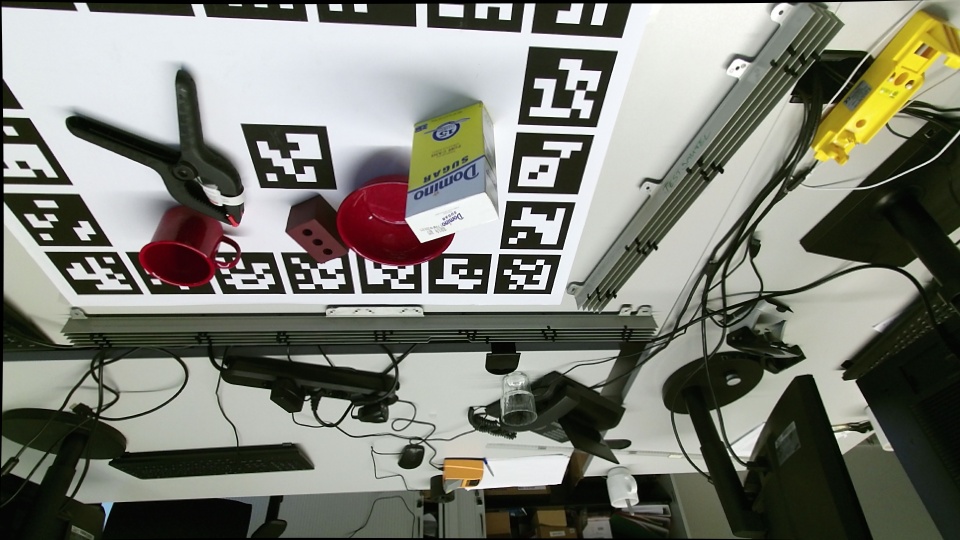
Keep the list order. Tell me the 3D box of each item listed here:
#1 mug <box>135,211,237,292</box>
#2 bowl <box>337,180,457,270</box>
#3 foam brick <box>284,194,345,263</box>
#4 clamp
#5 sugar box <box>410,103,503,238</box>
[{"bbox_3d":[-0.402,-0.024,0.749,0.117,0.081,0.093,22,131,-20],"label":"mug"},{"bbox_3d":[-0.113,-0.070,0.747,0.162,0.055,0.162,-2,136,-2],"label":"bowl"},{"bbox_3d":[-0.232,-0.058,0.762,0.053,0.051,0.078,-20,133,14],"label":"foam brick"},{"bbox_3d":[-0.362,-0.126,0.673,0.166,0.036,0.203,-17,134,10],"label":"clamp"},{"bbox_3d":[-0.027,-0.120,0.617,0.093,0.175,0.045,-17,133,14],"label":"sugar box"}]
